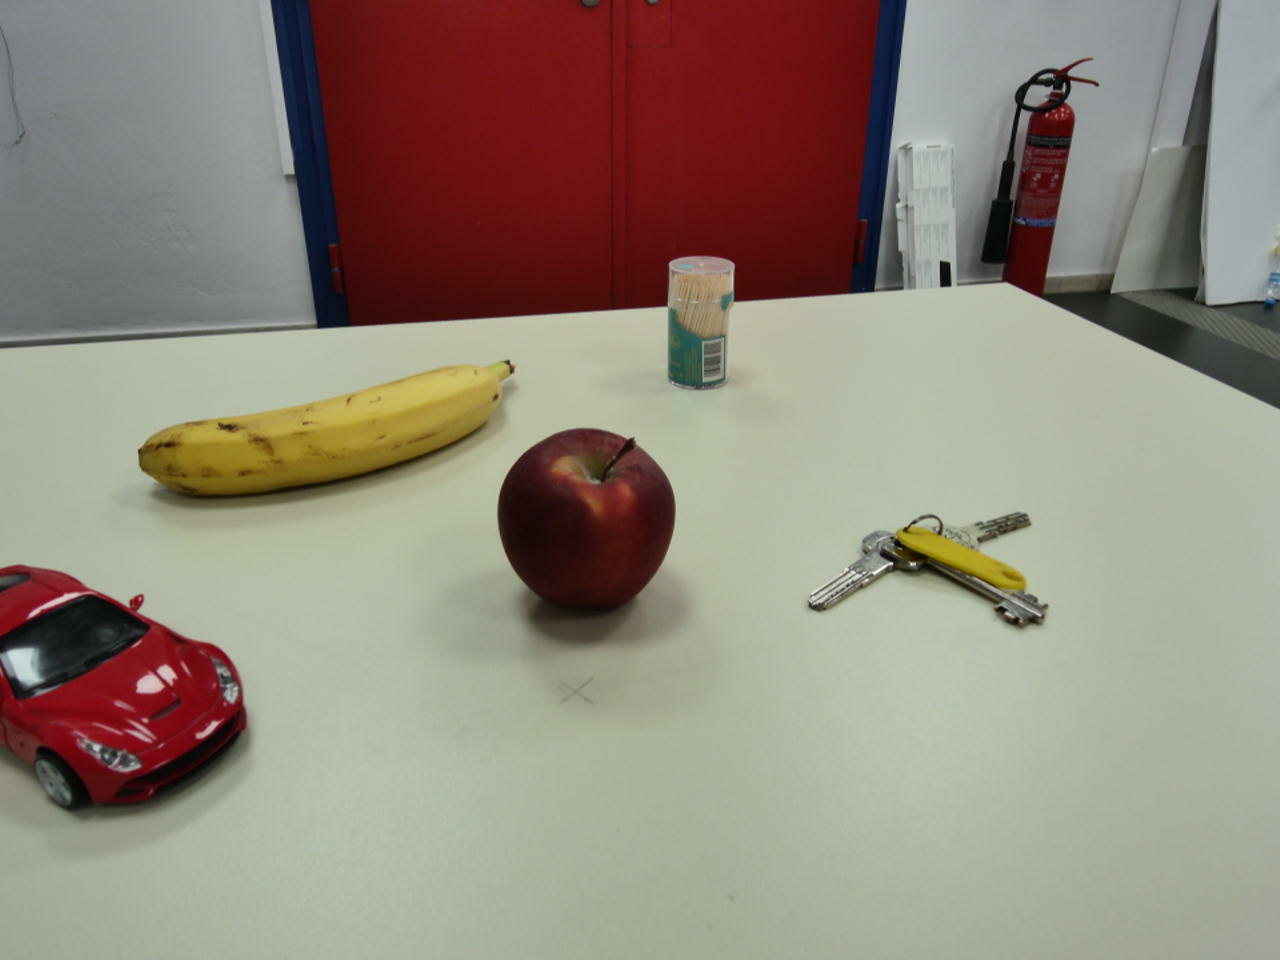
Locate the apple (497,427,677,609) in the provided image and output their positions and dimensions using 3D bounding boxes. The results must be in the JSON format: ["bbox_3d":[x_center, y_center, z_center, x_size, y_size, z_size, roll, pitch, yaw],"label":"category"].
[{"bbox_3d":[-0.020,0.016,0.391,0.070,0.072,0.070,0,24,0],"label":"apple"}]
